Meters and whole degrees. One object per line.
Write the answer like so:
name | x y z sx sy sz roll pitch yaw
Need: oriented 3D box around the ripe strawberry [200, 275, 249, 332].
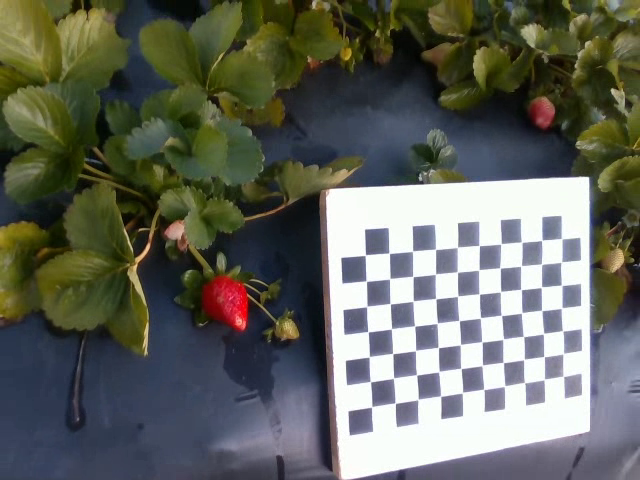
ripe strawberry | -0.077 0.060 0.510 0.043 0.052 0.057 -29 41 -9
